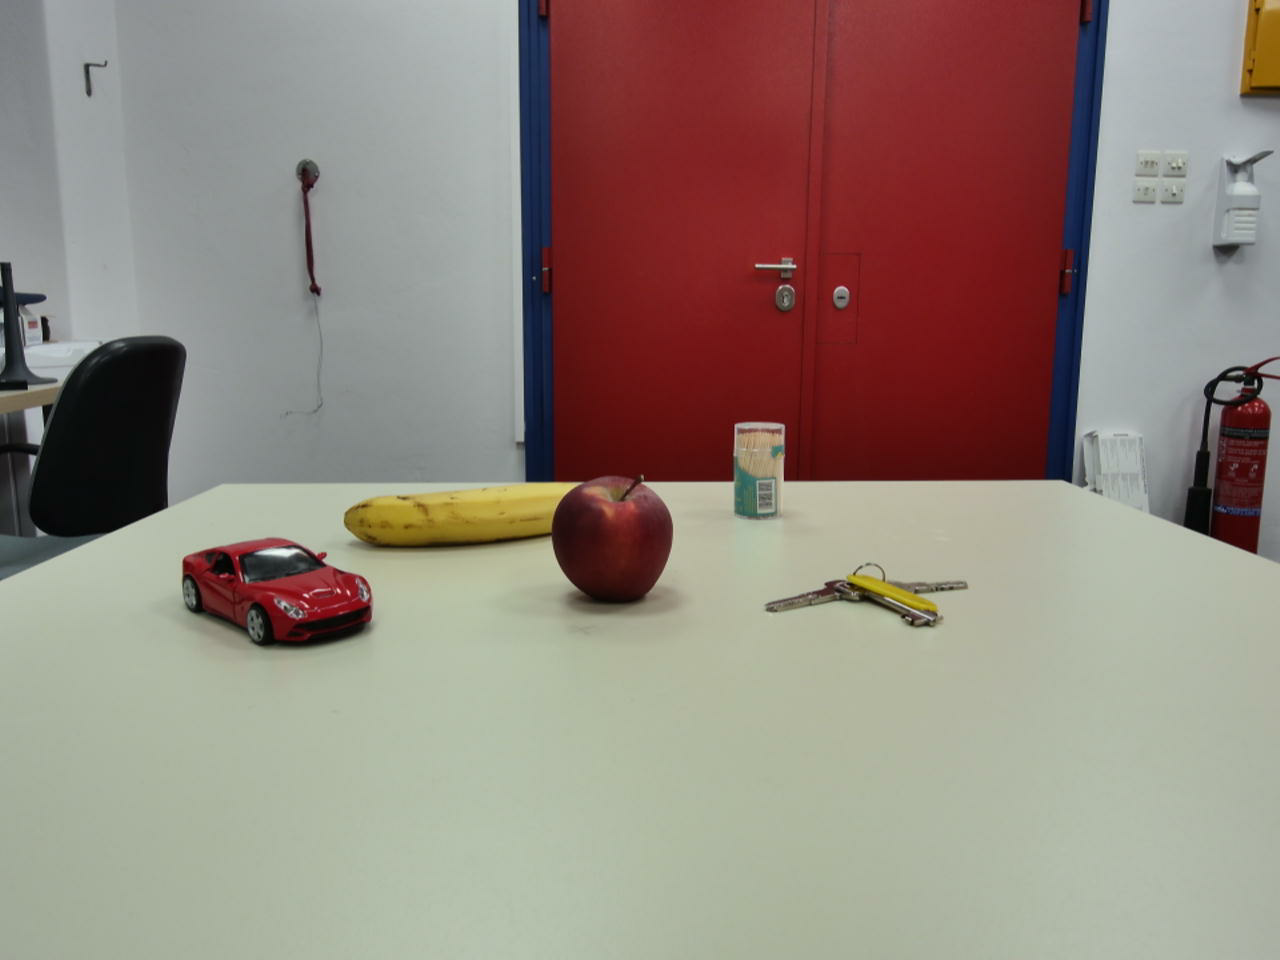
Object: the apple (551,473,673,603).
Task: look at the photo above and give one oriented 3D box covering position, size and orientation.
[{"bbox_3d":[-0.016,0.031,0.575,0.070,0.072,0.070,-1,8,0],"label":"apple"}]
